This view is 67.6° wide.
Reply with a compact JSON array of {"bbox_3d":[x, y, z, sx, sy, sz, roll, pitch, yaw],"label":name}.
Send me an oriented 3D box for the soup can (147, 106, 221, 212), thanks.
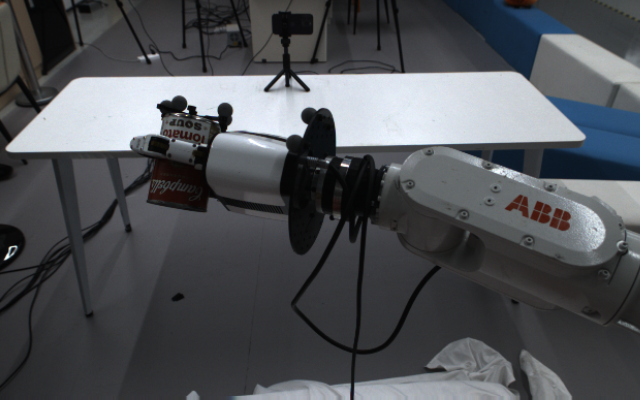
[{"bbox_3d":[-0.154,-0.040,0.554,0.067,0.101,0.067,8,-6,1],"label":"soup can"}]
